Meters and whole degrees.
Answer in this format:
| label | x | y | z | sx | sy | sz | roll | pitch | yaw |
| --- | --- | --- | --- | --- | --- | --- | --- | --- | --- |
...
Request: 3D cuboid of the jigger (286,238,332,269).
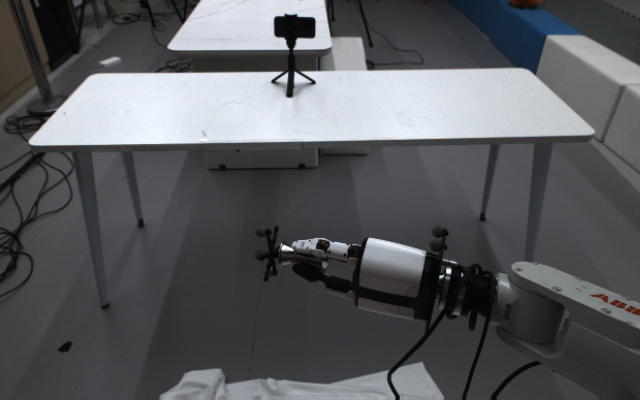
| label | x | y | z | sx | sy | sz | roll | pitch | yaw |
| --- | --- | --- | --- | --- | --- | --- | --- | --- | --- |
| jigger | -0.017 | 0.080 | 0.728 | 0.071 | 0.043 | 0.043 | 3 | 34 | 12 |
